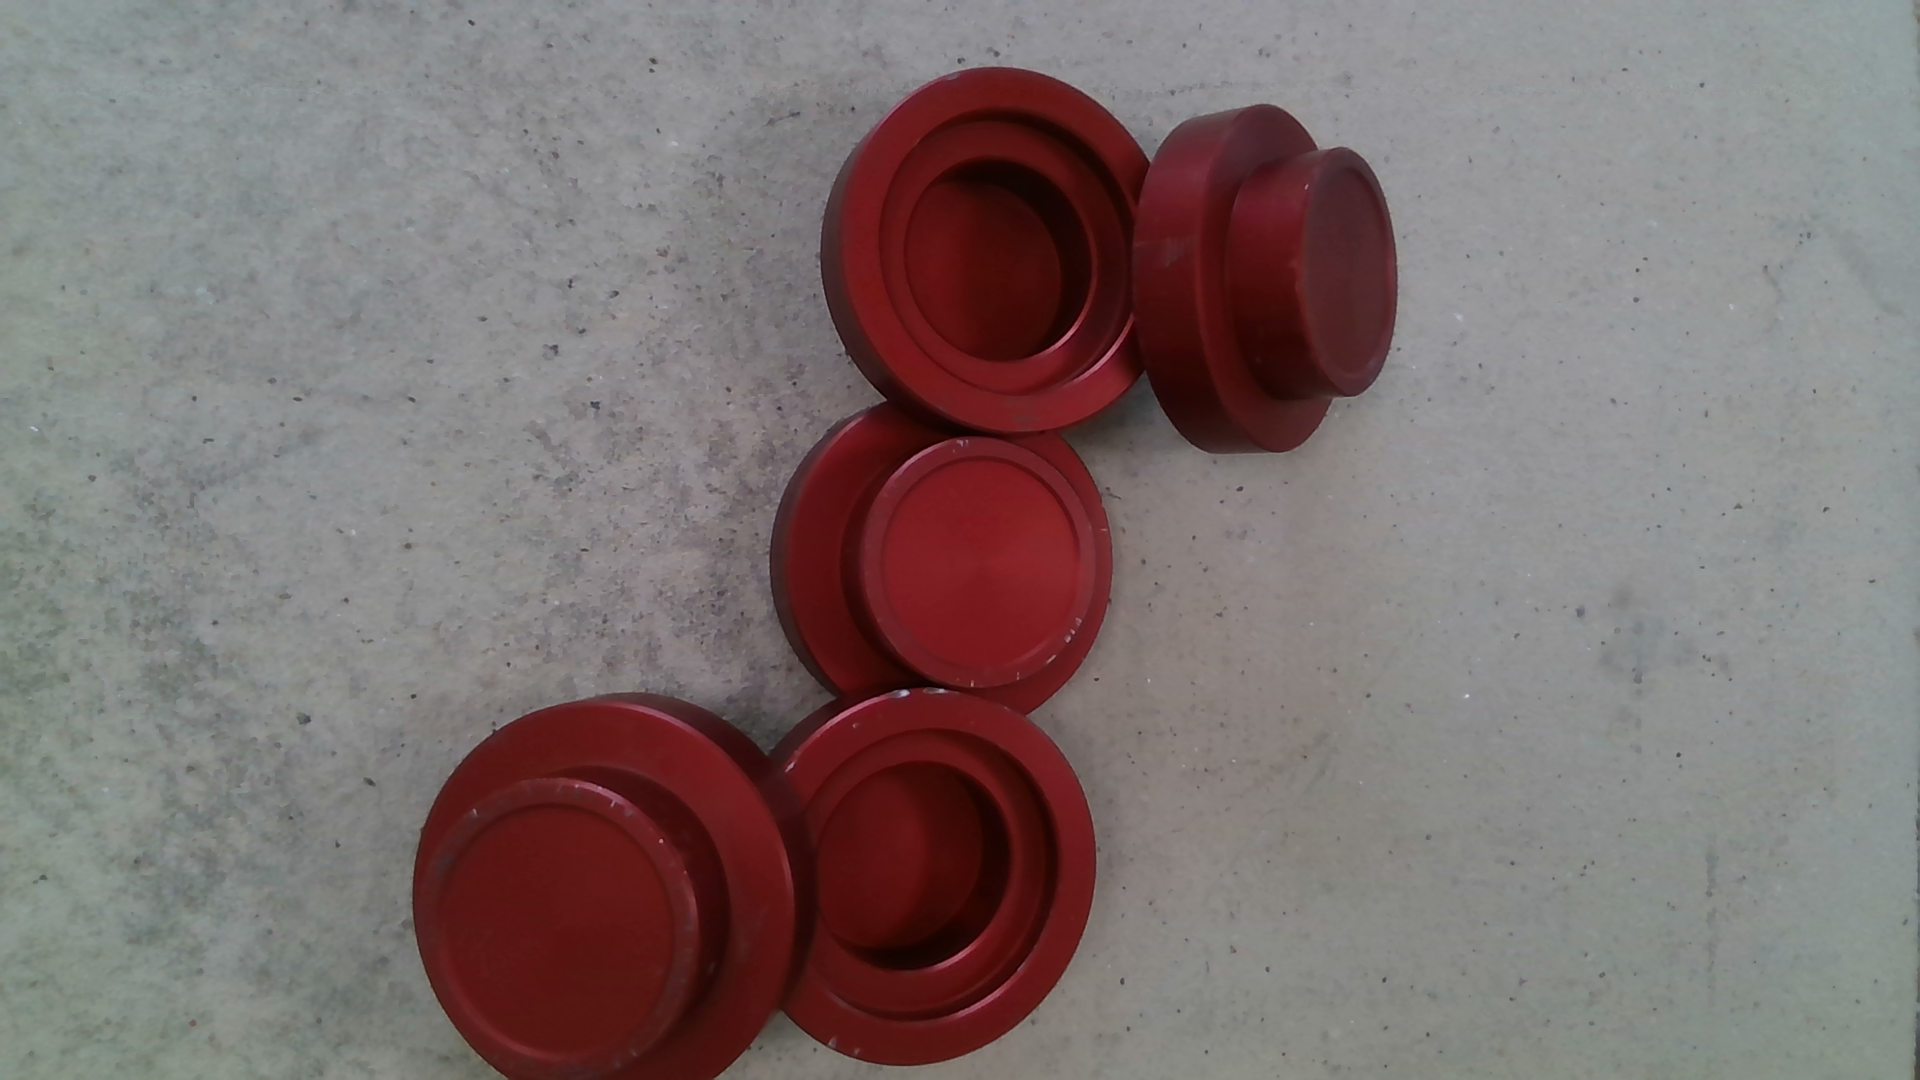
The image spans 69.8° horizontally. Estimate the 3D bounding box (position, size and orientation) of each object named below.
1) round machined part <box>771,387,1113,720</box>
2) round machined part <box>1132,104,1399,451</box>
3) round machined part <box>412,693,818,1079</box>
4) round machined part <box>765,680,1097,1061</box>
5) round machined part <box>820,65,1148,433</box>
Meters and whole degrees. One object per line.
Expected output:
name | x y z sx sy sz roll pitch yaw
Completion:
round machined part | 0.000 0.006 0.384 0.098 0.042 0.098 1 88 -22
round machined part | 0.093 -0.075 0.395 0.098 0.042 0.098 -2 92 -51
round machined part | -0.087 0.087 0.329 0.098 0.042 0.098 0 90 9
round machined part | -0.015 0.088 0.379 0.098 0.042 0.098 0 89 -20
round machined part | 0.008 -0.078 0.387 0.098 0.042 0.098 0 89 -20
